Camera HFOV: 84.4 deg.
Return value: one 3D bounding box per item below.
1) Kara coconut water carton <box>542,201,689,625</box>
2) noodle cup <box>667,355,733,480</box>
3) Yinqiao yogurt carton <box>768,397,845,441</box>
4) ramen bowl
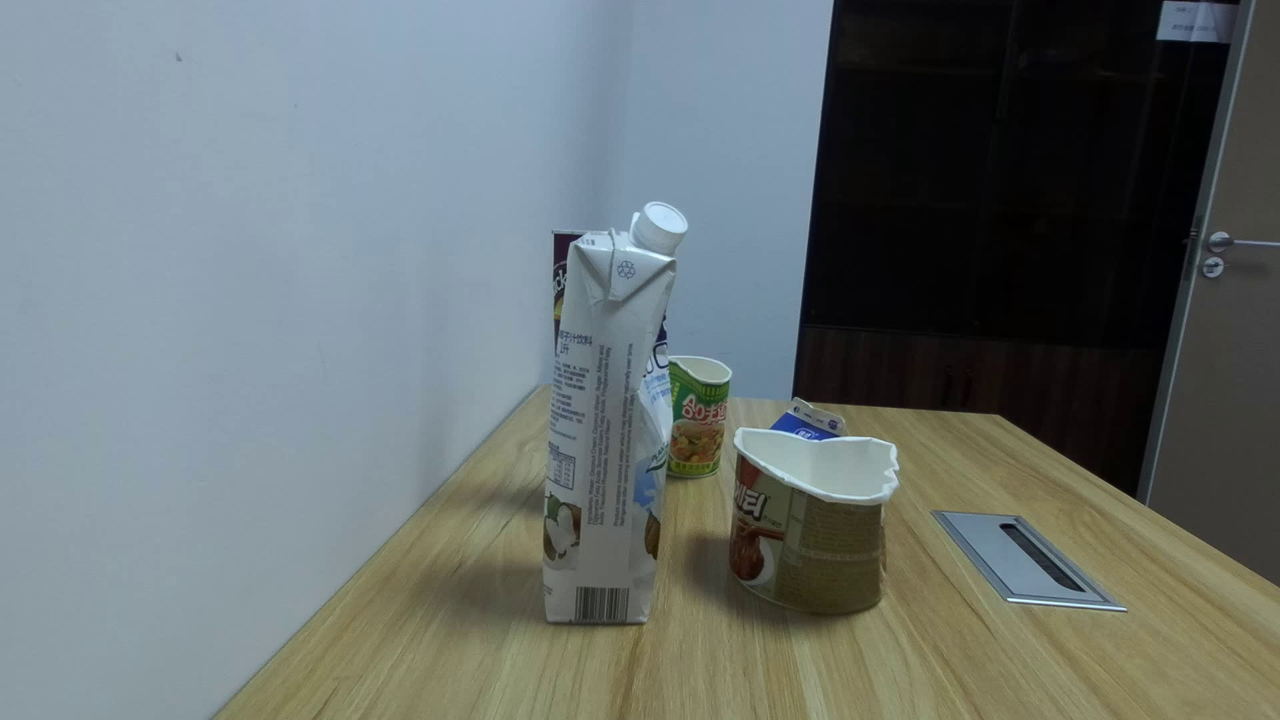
[{"bbox_3d":[-0.018,0.031,0.440,0.078,0.255,0.083,6,11,8],"label":"Kara coconut water carton"},{"bbox_3d":[0.049,0.056,0.709,0.070,0.111,0.115,2,11,-2],"label":"noodle cup"},{"bbox_3d":[0.156,0.086,0.641,0.074,0.092,0.075,-1,13,-28],"label":"Yinqiao yogurt carton"},{"bbox_3d":[0.120,0.109,0.489,0.113,0.097,0.134,5,11,6],"label":"ramen bowl"}]
